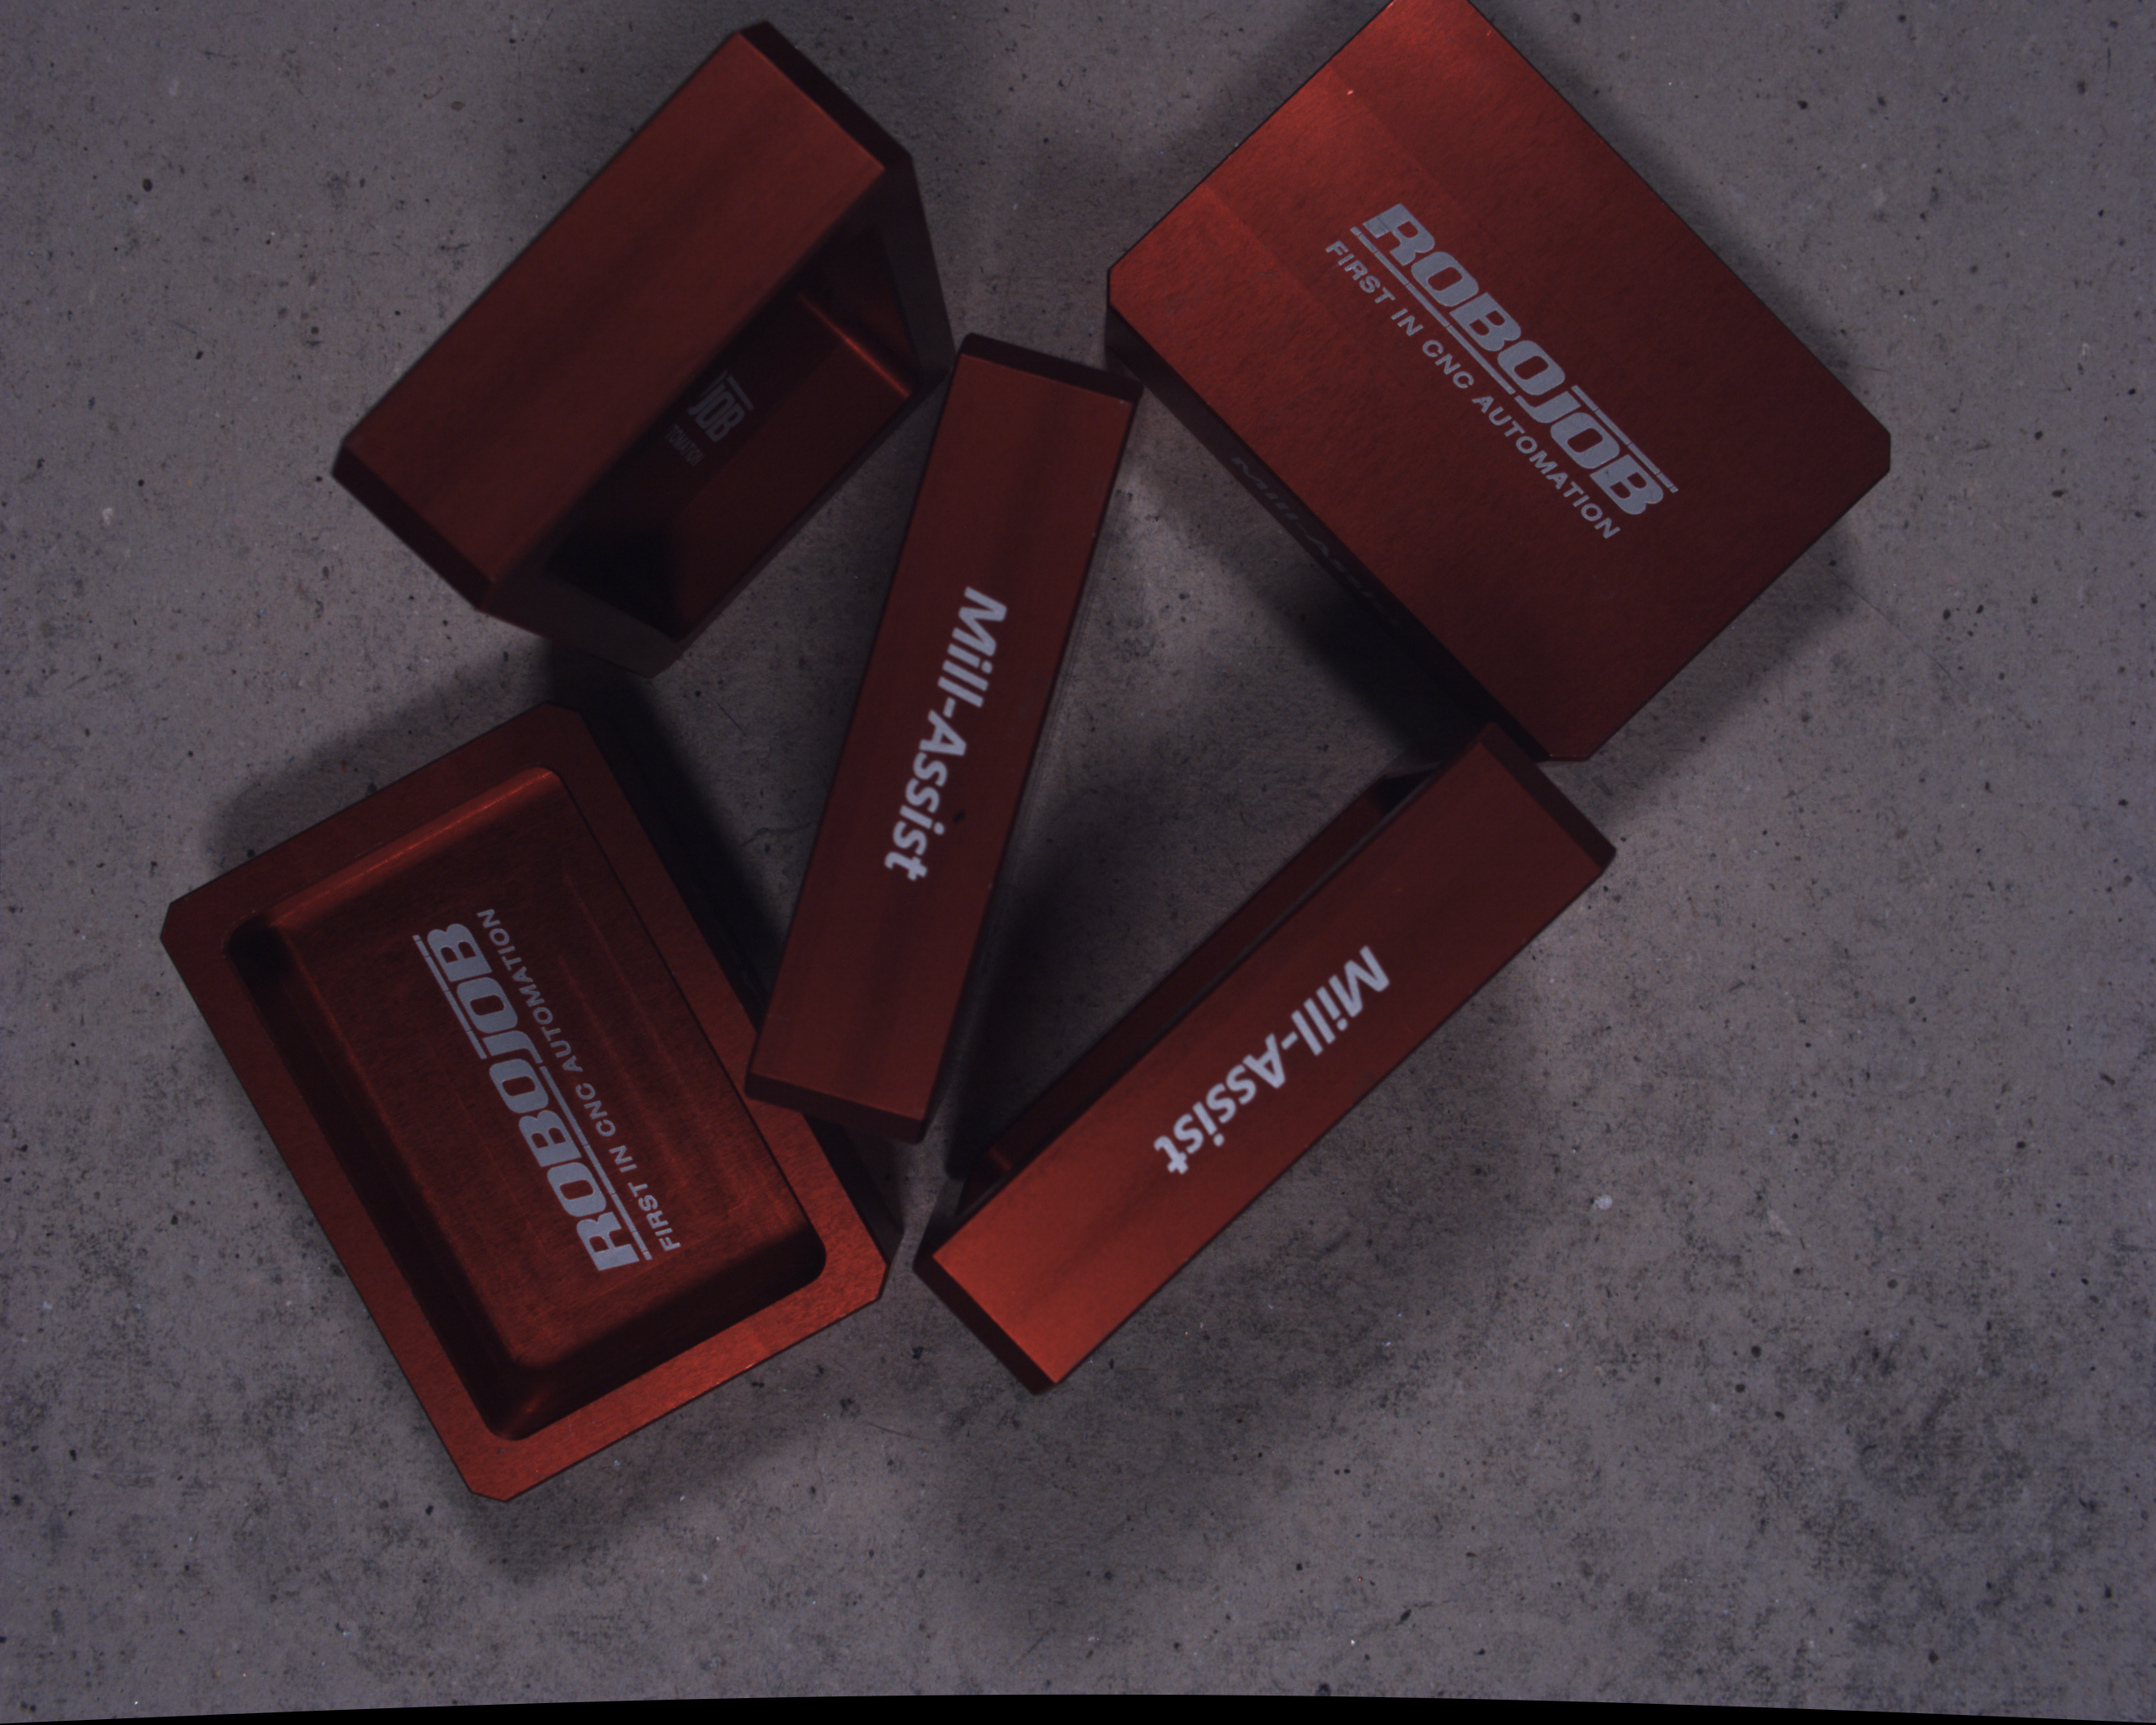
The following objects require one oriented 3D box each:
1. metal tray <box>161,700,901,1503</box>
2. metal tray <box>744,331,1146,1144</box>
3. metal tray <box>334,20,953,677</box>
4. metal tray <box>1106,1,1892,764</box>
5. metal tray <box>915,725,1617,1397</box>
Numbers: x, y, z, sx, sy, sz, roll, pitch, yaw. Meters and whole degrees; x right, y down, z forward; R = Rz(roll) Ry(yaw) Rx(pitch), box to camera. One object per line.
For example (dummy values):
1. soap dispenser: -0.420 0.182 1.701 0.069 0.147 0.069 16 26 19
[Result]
1. metal tray: -0.104 0.045 0.407 0.090 0.030 0.130 -29 90 -1
2. metal tray: -0.022 -0.021 0.378 0.030 0.090 0.129 17 90 0
3. metal tray: -0.065 -0.079 0.358 0.030 0.130 0.090 44 90 -1
4. metal tray: 0.080 -0.094 0.410 0.090 0.030 0.130 -44 91 0
5. metal tray: 0.030 0.032 0.379 0.130 0.090 0.030 -43 90 0
